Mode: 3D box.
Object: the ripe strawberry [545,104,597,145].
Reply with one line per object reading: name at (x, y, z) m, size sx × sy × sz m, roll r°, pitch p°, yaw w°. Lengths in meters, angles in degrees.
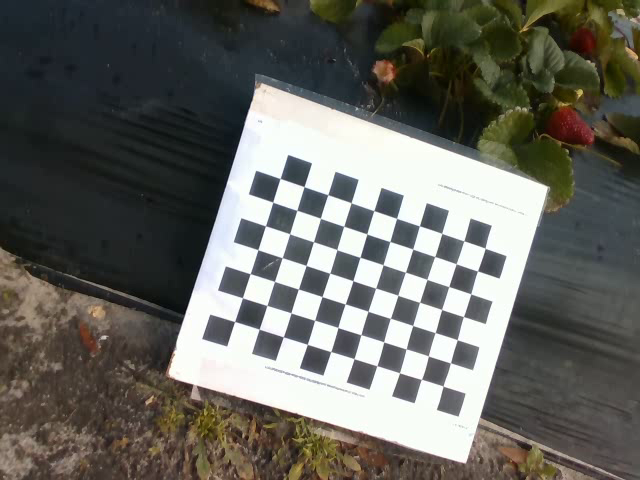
ripe strawberry at (0.263, -0.117, 0.694) m, size 0.050 × 0.064 × 0.043 m, roll -40°, pitch 5°, yaw -10°
